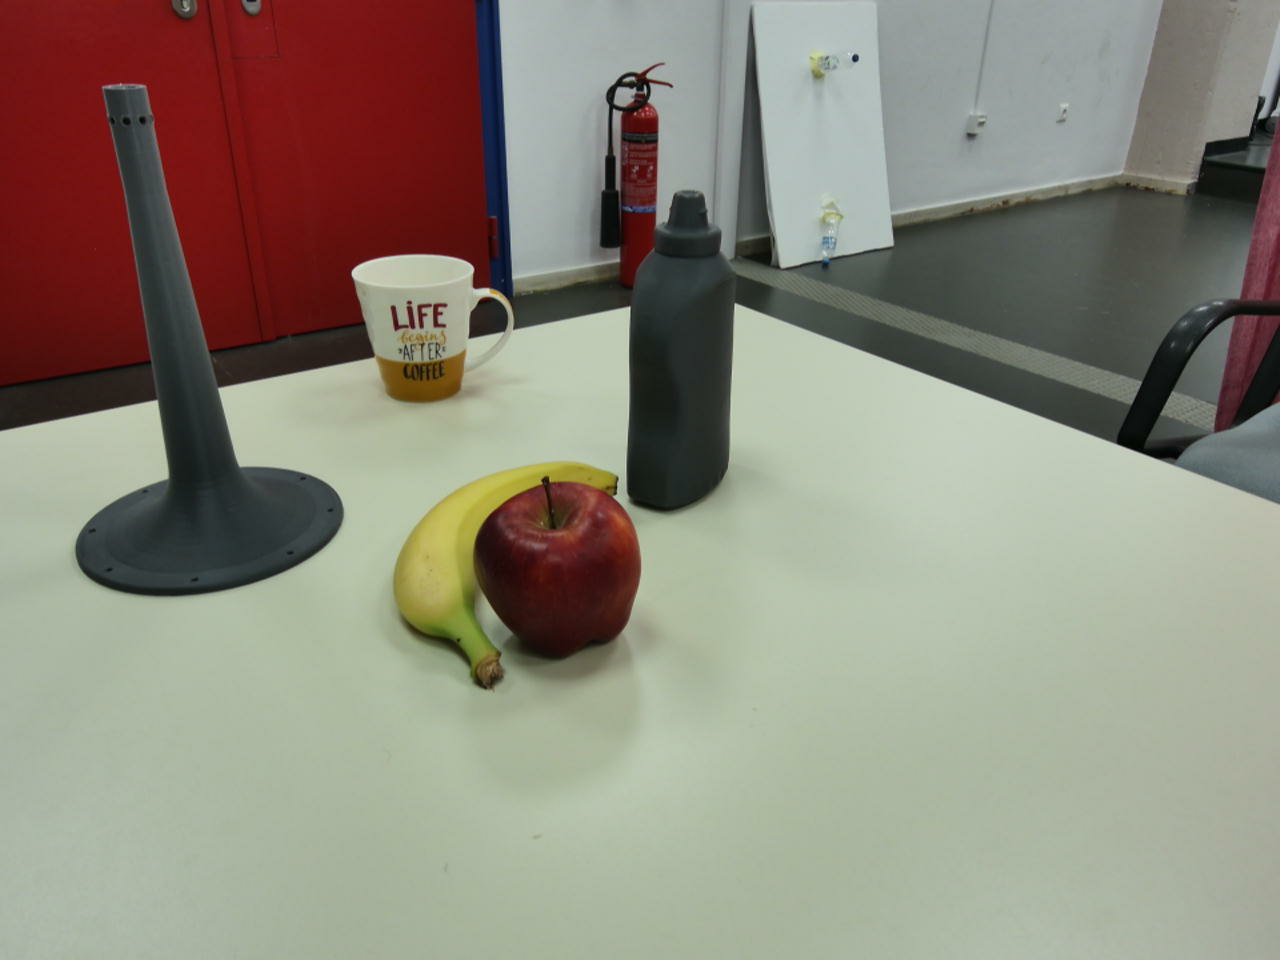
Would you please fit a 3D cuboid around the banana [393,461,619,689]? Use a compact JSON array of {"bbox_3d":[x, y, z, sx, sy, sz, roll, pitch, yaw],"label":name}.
[{"bbox_3d":[-0.084,0.036,0.565,0.094,0.041,0.196,9,27,16],"label":"banana"}]
